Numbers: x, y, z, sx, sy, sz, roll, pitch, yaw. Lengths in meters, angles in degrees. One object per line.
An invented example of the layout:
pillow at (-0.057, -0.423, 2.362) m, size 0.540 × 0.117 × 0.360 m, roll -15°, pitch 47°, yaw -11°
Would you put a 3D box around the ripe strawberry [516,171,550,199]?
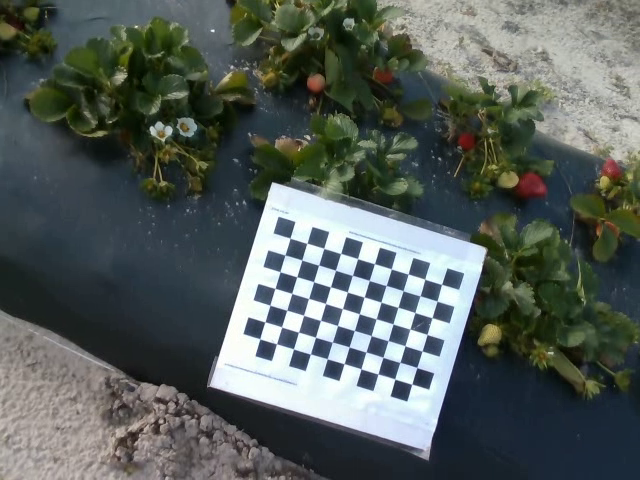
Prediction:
ripe strawberry at (0.373, -0.092, 1.083) m, size 0.051 × 0.048 × 0.055 m, roll -40°, pitch 35°, yaw -1°
